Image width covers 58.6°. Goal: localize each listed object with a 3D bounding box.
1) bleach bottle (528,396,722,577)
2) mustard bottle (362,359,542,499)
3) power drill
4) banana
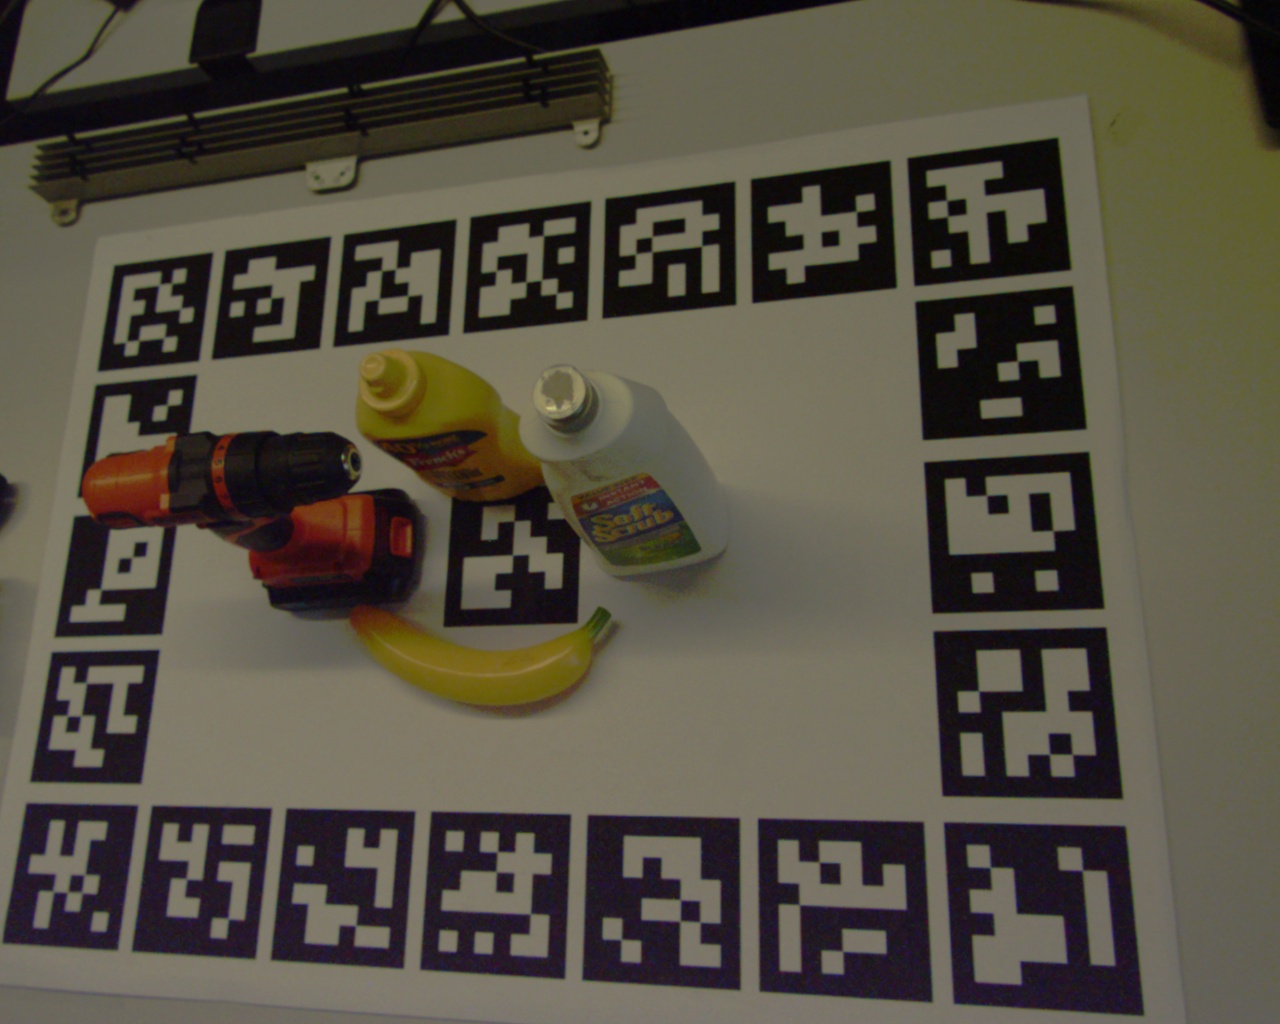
[{"bbox_3d":[-0.017,-0.017,0.720,0.103,0.248,0.068,-12,74,12],"label":"bleach bottle"},{"bbox_3d":[-0.137,-0.060,0.789,0.097,0.190,0.058,-3,74,13],"label":"mustard bottle"},{"bbox_3d":[-0.240,0.001,0.783,0.185,0.185,0.057,-6,67,11],"label":"power drill"},{"bbox_3d":[-0.114,0.097,0.819,0.199,0.038,0.074,-1,79,18],"label":"banana"}]
